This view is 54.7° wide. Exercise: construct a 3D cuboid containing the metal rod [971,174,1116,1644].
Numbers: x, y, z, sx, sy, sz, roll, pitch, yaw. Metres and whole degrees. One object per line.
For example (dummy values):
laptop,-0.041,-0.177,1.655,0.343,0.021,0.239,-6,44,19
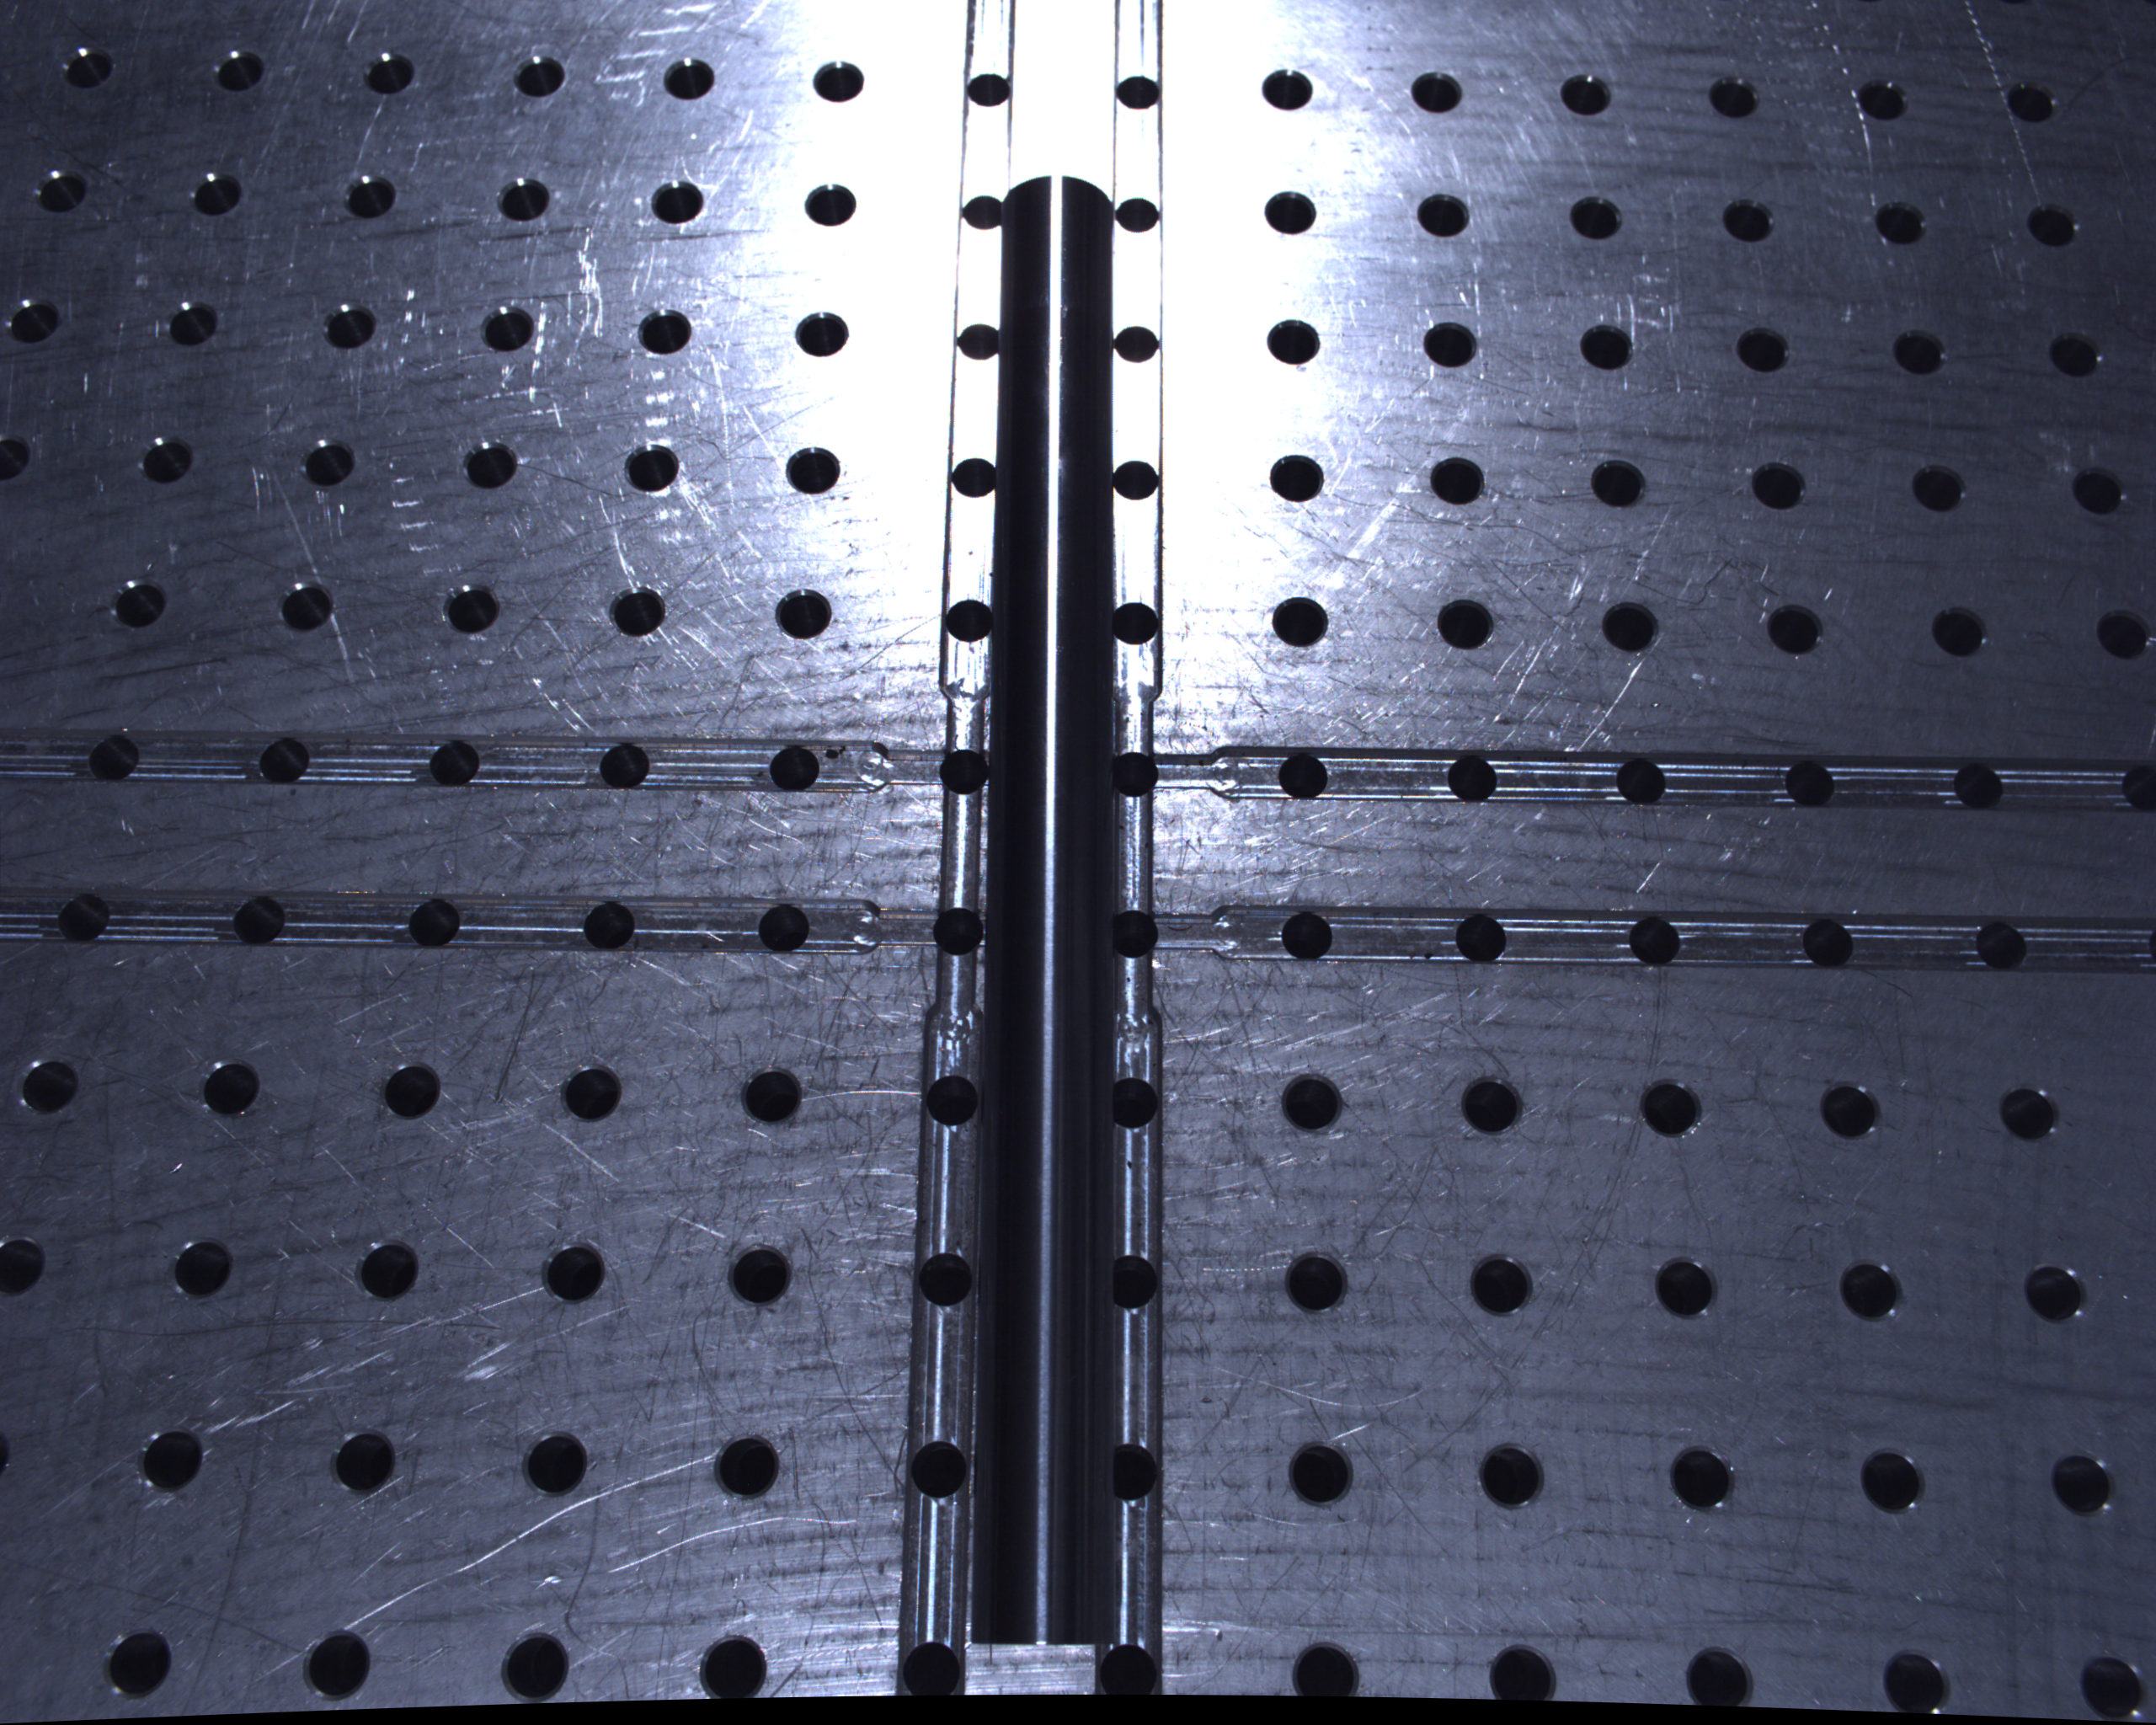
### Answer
metal rod,-0.005,-0.005,0.413,0.025,0.025,0.299,0,70,0
